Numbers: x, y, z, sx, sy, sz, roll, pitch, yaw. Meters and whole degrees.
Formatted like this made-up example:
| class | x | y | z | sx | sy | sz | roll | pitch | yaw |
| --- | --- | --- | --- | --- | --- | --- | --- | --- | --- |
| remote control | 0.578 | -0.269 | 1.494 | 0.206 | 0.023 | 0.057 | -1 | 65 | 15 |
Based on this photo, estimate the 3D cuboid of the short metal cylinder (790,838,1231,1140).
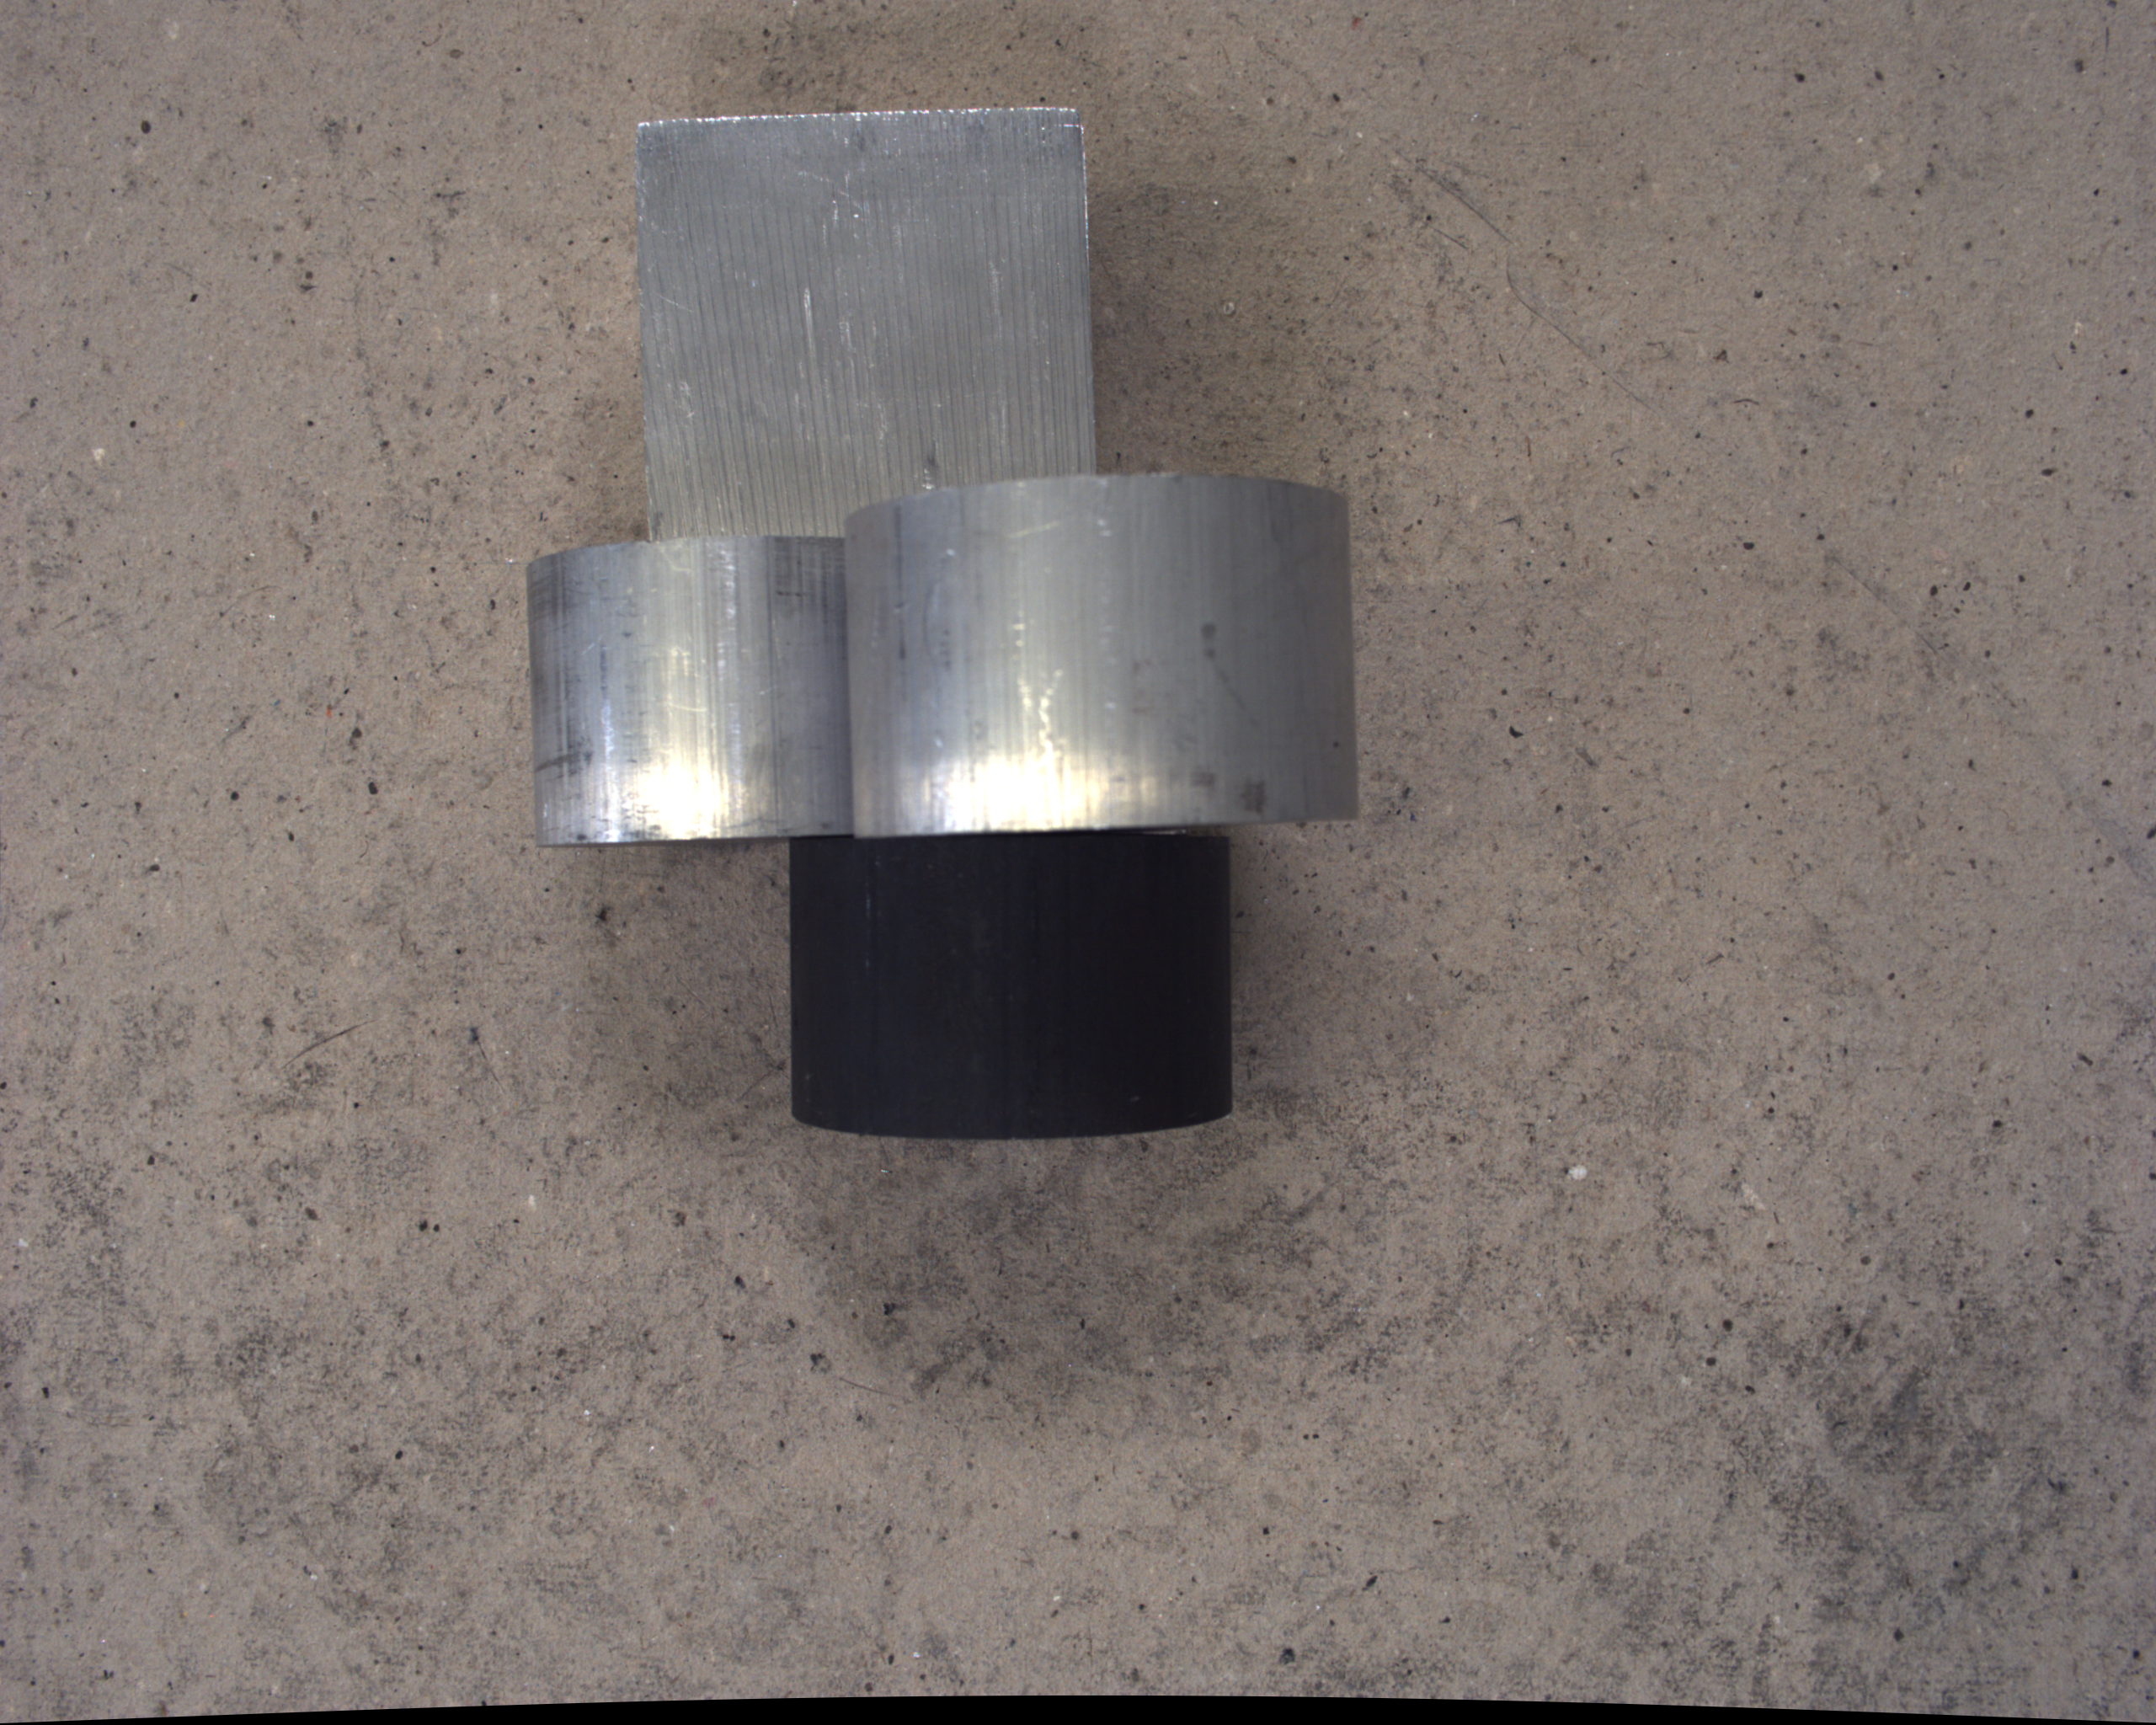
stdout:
| class | x | y | z | sx | sy | sz | roll | pitch | yaw |
| --- | --- | --- | --- | --- | --- | --- | --- | --- | --- |
| short metal cylinder | -0.012 | 0.021 | 0.384 | 0.081 | 0.080 | 0.050 | 0 | 90 | 0 |

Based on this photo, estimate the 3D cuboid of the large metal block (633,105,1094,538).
| class | x | y | z | sx | sy | sz | roll | pitch | yaw |
| --- | --- | --- | --- | --- | --- | --- | --- | --- | --- |
| large metal block | -0.038 | -0.095 | 0.399 | 0.081 | 0.050 | 0.080 | -2 | 90 | 0 |

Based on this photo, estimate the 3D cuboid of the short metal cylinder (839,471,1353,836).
| class | x | y | z | sx | sy | sz | roll | pitch | yaw |
| --- | --- | --- | --- | --- | --- | --- | --- | --- | --- |
| short metal cylinder | 0.003 | -0.031 | 0.334 | 0.081 | 0.080 | 0.050 | -2 | 90 | 0 |

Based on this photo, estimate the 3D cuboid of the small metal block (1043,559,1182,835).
| class | x | y | z | sx | sy | sz | roll | pitch | yaw |
| --- | --- | --- | --- | --- | --- | --- | --- | --- | --- |
| small metal block | 0.007 | -0.030 | 0.401 | 0.025 | 0.050 | 0.050 | 1 | 90 | 0 |

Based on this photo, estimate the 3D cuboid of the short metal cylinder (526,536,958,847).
| class | x | y | z | sx | sy | sz | roll | pitch | yaw |
| --- | --- | --- | --- | --- | --- | --- | --- | --- | --- |
| short metal cylinder | -0.059 | -0.029 | 0.384 | 0.081 | 0.080 | 0.050 | -2 | 90 | 0 |
